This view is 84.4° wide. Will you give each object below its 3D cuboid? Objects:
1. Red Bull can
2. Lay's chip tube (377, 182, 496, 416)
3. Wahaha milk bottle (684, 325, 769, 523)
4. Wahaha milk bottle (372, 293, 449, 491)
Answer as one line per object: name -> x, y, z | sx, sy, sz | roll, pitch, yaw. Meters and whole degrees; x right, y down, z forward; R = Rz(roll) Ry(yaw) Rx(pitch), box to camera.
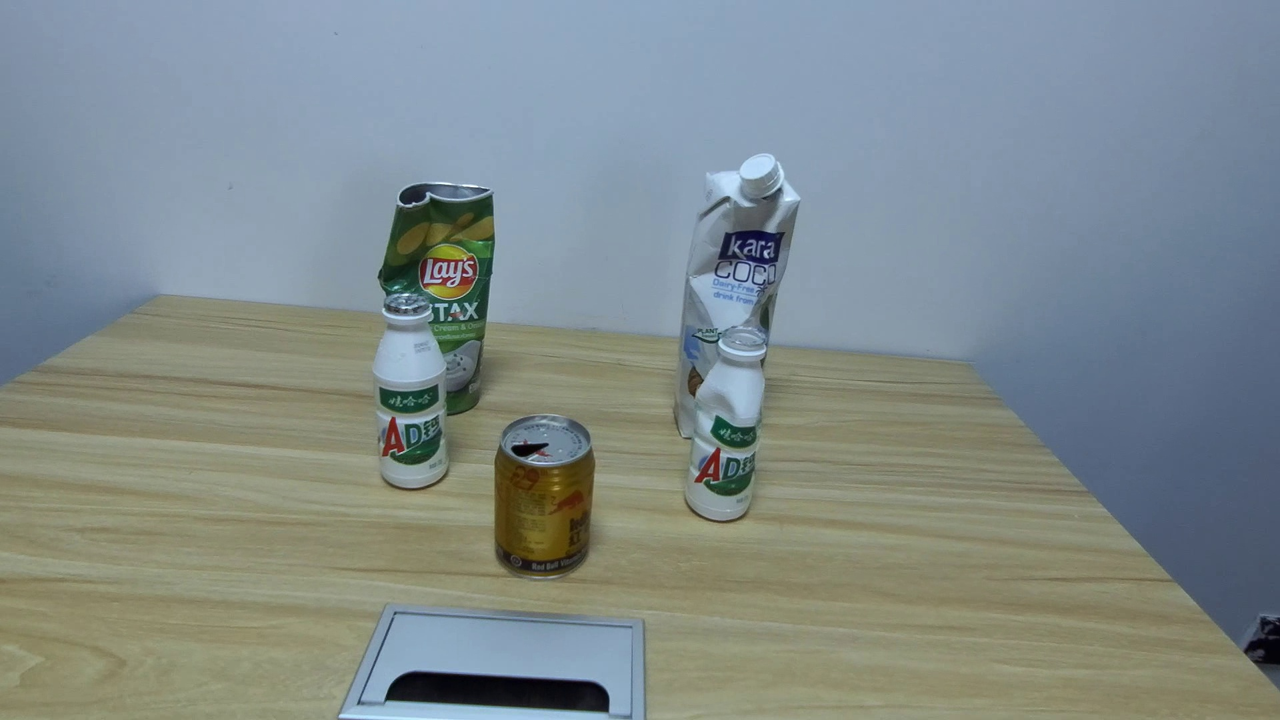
Red Bull can -> -0.064, 0.091, 0.479 | 0.067, 0.093, 0.067 | 5, 26, -2
Lay's chip tube -> -0.179, -0.053, 0.631 | 0.069, 0.201, 0.077 | 17, 31, 22
Wahaha milk bottle -> 0.066, 0.049, 0.527 | 0.055, 0.149, 0.055 | 4, 28, -2
Wahaha milk bottle -> -0.173, 0.025, 0.535 | 0.053, 0.147, 0.053 | 5, 26, -2
